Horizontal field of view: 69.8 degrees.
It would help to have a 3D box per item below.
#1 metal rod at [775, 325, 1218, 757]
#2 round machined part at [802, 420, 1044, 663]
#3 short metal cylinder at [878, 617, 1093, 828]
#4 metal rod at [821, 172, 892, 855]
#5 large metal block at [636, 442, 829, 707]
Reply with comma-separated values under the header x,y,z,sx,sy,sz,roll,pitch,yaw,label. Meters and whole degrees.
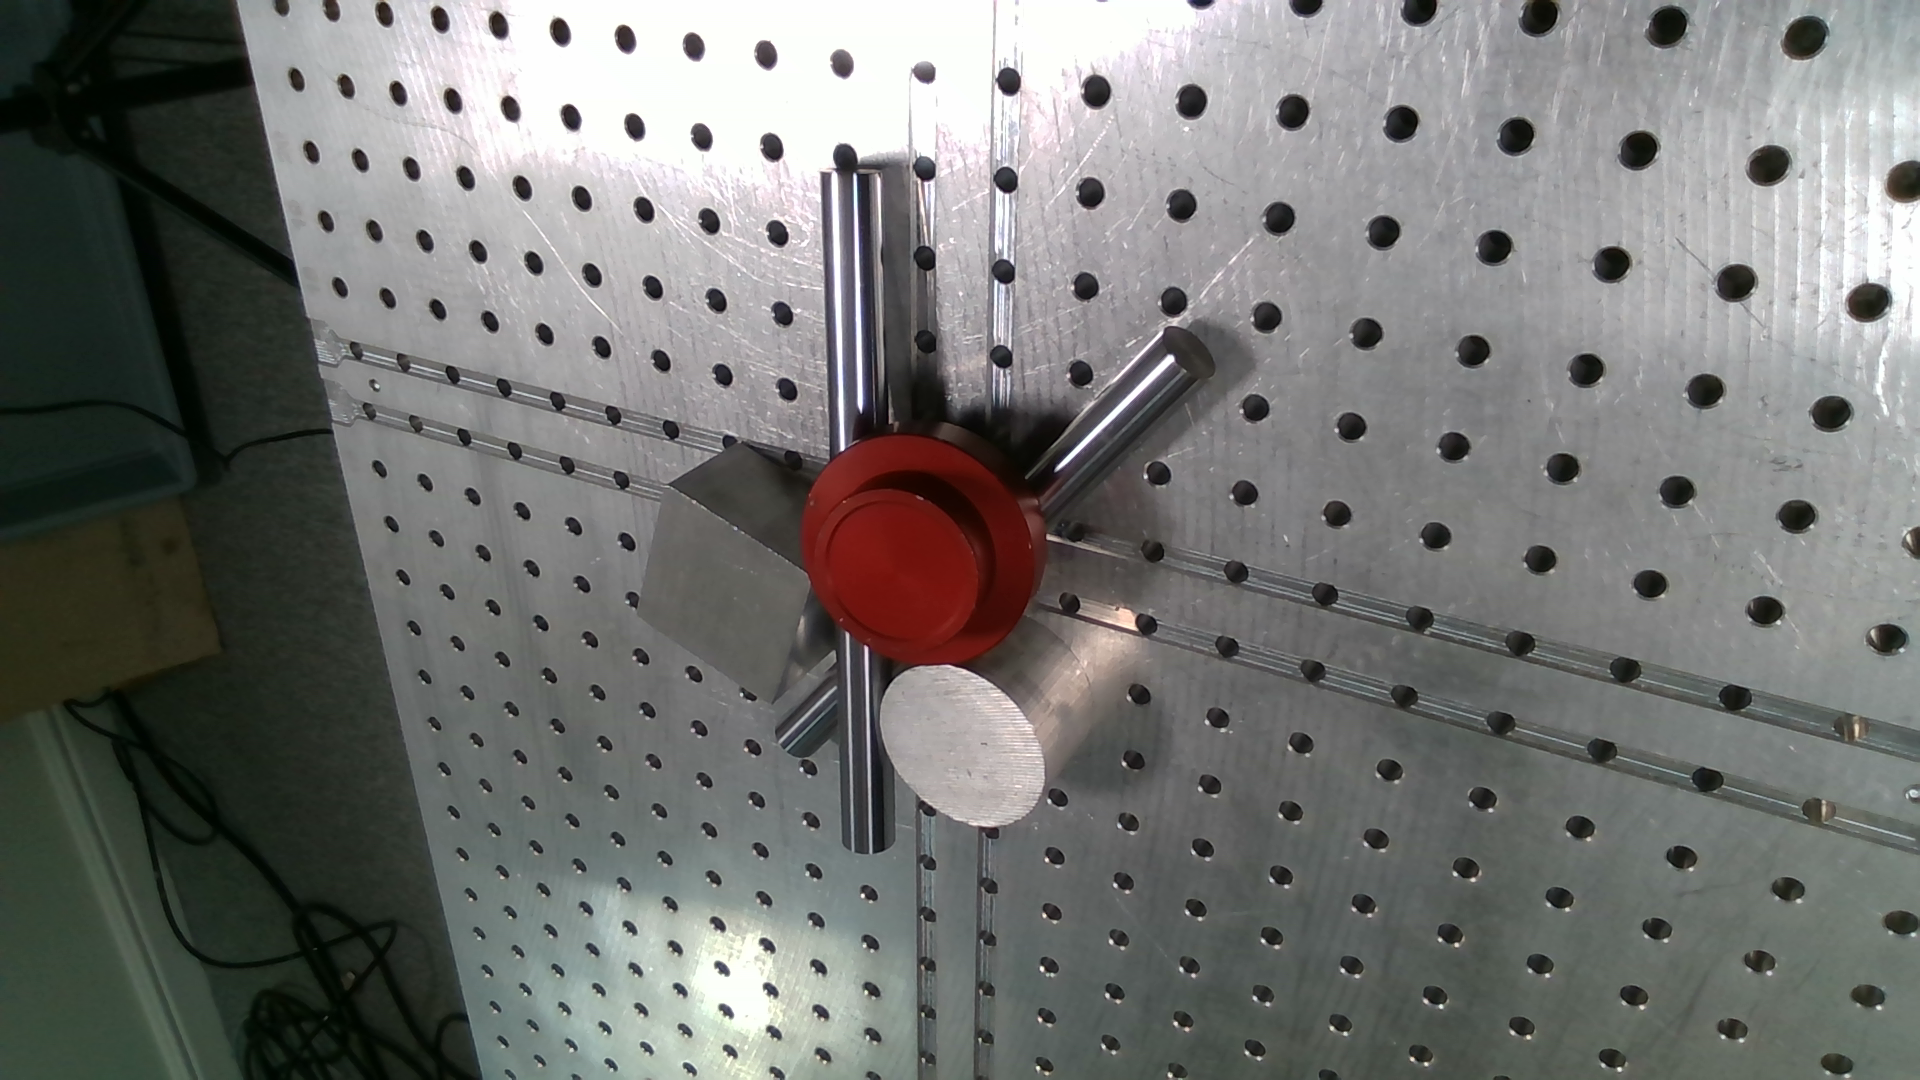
x,y,z,sx,sy,sz,roll,pitch,yaw,label
0.001,0.015,0.591,0.025,0.025,0.301,46,129,2,metal rod
-0.018,0.004,0.542,0.098,0.042,0.098,8,114,18,round machined part
0.012,0.078,0.601,0.080,0.050,0.080,14,122,25,short metal cylinder
-0.042,-0.002,0.584,0.025,0.025,0.301,11,113,26,metal rod
-0.095,0.015,0.630,0.080,0.050,0.080,32,128,13,large metal block
